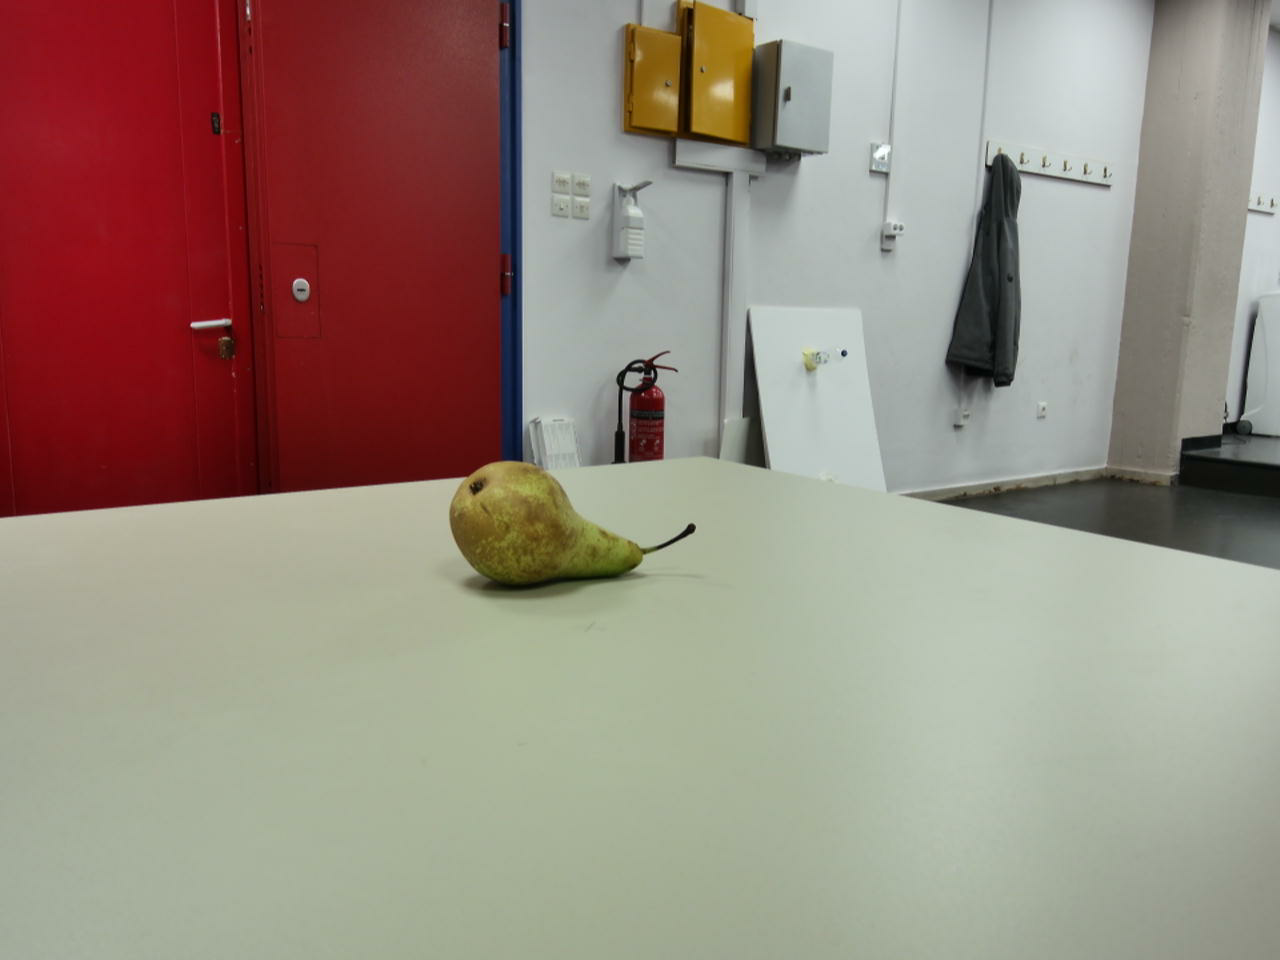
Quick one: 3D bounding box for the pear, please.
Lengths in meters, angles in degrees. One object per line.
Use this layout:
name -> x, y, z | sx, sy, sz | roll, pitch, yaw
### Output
pear -> -0.046, 0.024, 0.618 | 0.144, 0.075, 0.072 | -4, 9, -28
